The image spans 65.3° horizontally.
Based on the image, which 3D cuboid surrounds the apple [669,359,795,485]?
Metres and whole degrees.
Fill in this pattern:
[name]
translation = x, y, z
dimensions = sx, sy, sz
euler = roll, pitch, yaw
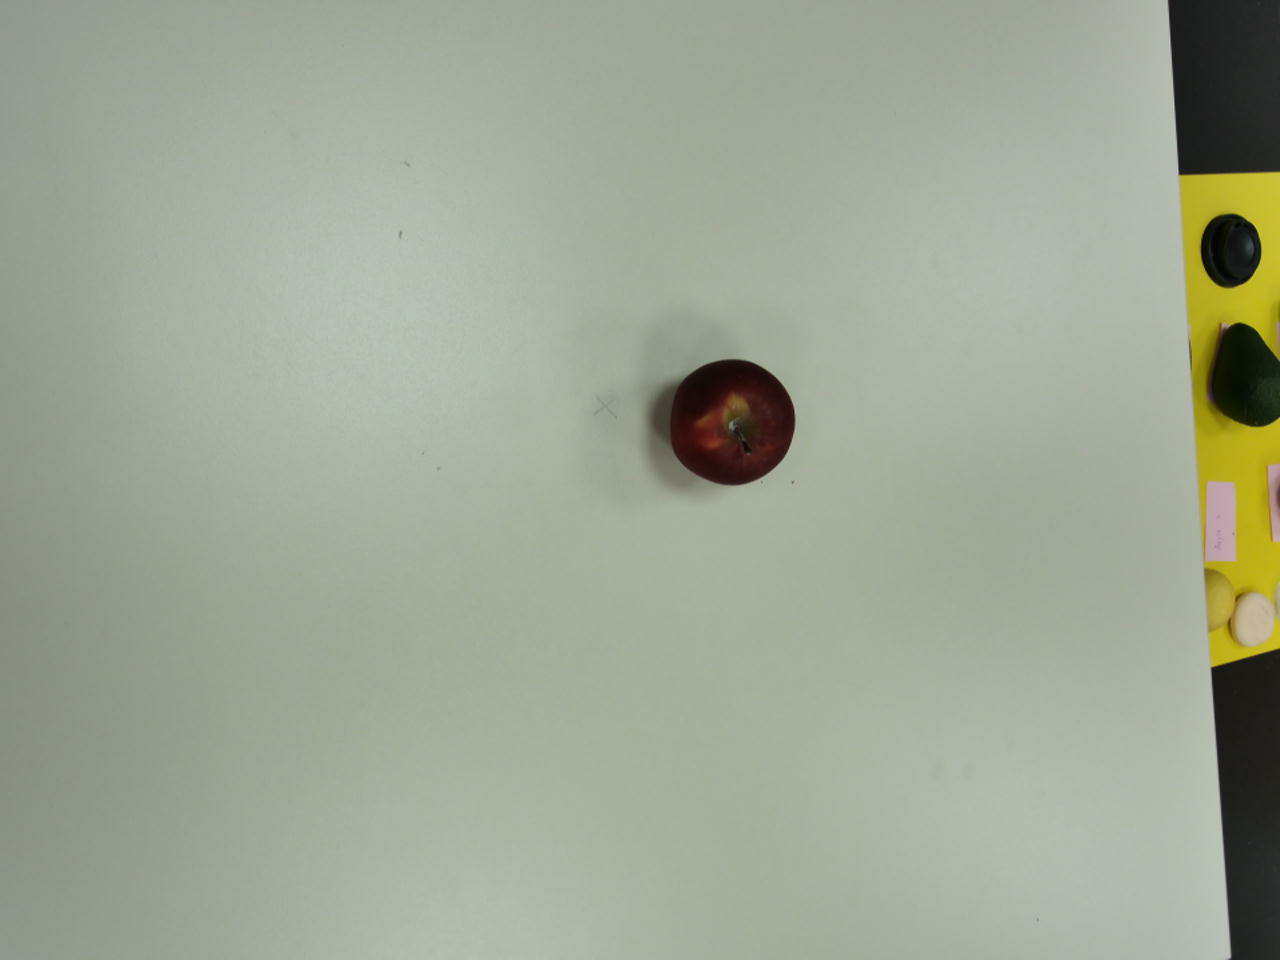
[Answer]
[apple]
translation = 0.051, -0.031, 0.553
dimensions = 0.070, 0.072, 0.070
euler = 0, 91, -22
